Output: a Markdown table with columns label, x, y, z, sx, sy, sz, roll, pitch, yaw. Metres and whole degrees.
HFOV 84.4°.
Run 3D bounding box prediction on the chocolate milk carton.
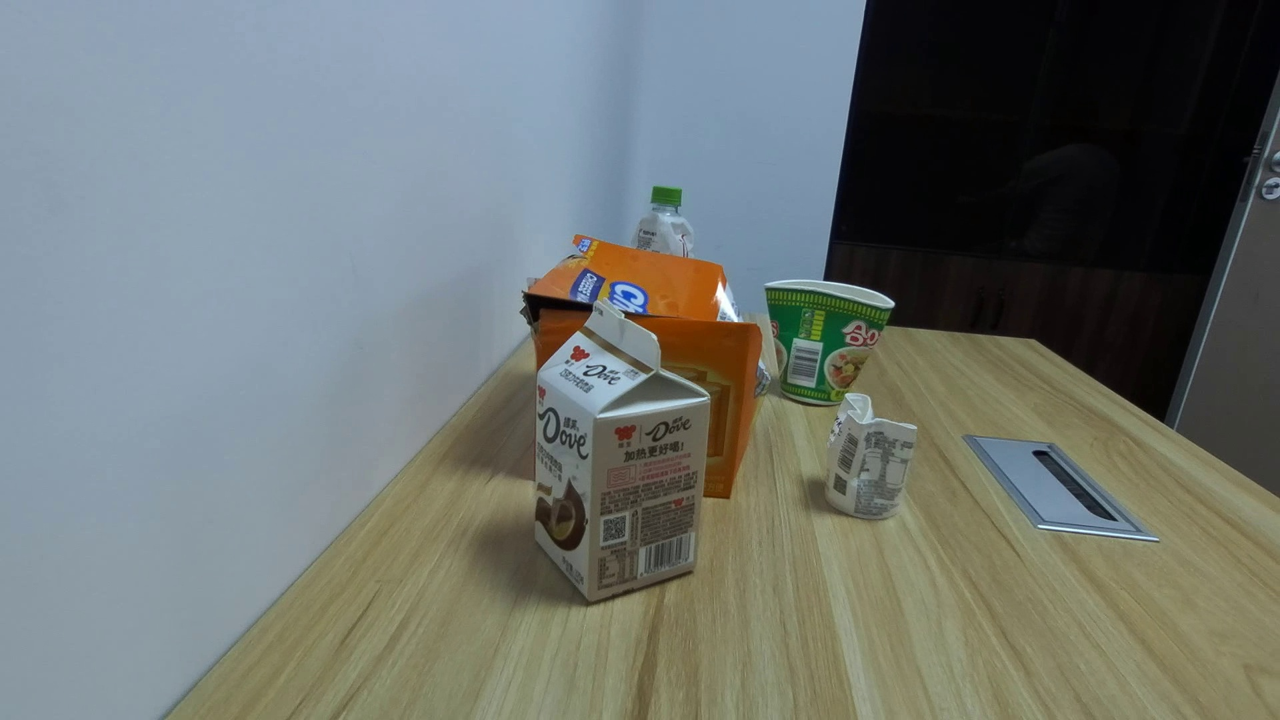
| label | x | y | z | sx | sy | sz | roll | pitch | yaw |
| --- | --- | --- | --- | --- | --- | --- | --- | --- | --- |
| chocolate milk carton | -0.011 | 0.045 | 0.398 | 0.074 | 0.148 | 0.075 | -8 | 20 | -31 |

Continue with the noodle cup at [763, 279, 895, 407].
| label | x | y | z | sx | sy | sz | roll | pitch | yaw |
| --- | --- | --- | --- | --- | --- | --- | --- | --- | --- |
| noodle cup | 0.179 | -0.018 | 0.692 | 0.070 | 0.111 | 0.114 | -13 | 26 | -40 |

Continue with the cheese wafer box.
| label | x | y | z | sx | sy | sz | roll | pitch | yaw |
| --- | --- | --- | --- | --- | --- | --- | --- | --- | --- |
| cheese wafer box | 0.015 | -0.009 | 0.577 | 0.191 | 0.145 | 0.219 | 4 | 18 | 1 |

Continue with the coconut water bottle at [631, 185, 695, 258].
| label | x | y | z | sx | sy | sz | roll | pitch | yaw |
| --- | --- | --- | --- | --- | --- | --- | --- | --- | --- |
| coconut water bottle | 0.021 | -0.088 | 0.748 | 0.067 | 0.187 | 0.067 | 5 | 17 | -1 |

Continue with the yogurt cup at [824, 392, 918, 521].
| label | x | y | z | sx | sy | sz | roll | pitch | yaw |
| --- | --- | --- | --- | --- | --- | --- | --- | --- | --- |
| yogurt cup | 0.159 | 0.067 | 0.494 | 0.055 | 0.072 | 0.055 | 5 | 20 | 10 |
